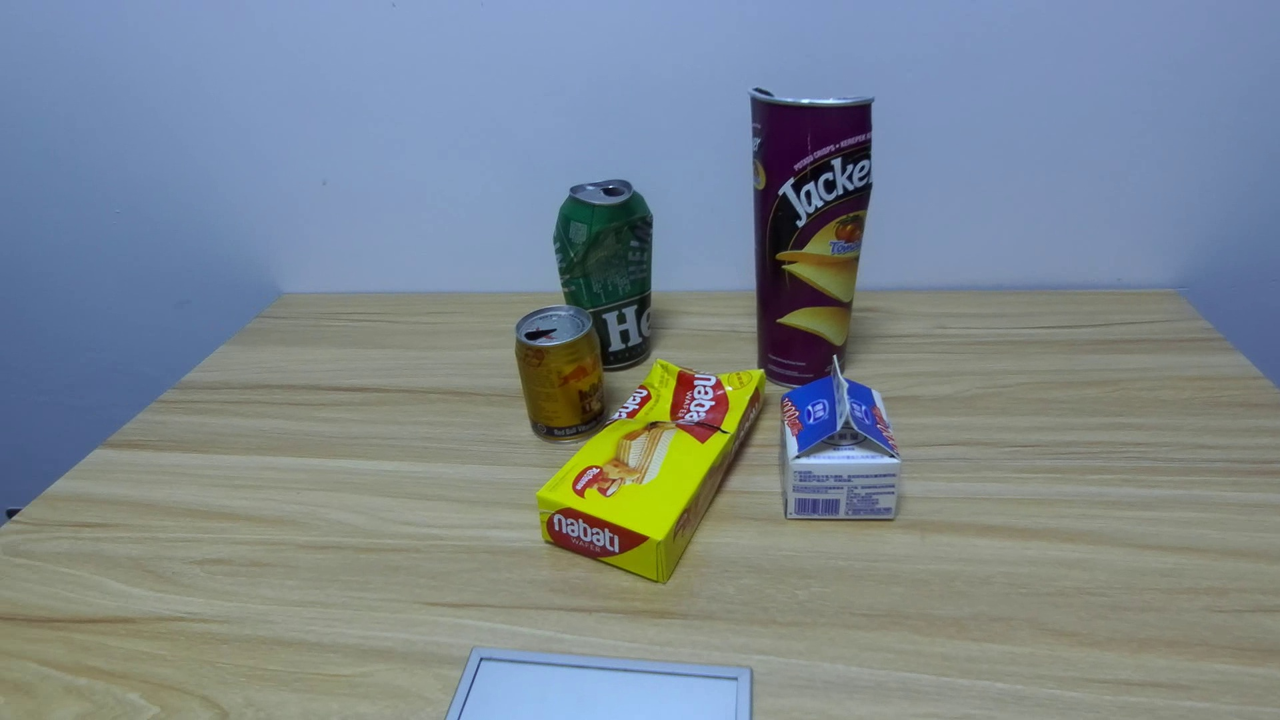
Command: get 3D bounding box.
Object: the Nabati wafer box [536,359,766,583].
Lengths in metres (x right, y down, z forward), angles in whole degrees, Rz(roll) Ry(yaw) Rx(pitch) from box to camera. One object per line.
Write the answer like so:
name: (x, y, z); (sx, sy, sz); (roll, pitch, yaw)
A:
Nabati wafer box: (0.016, 0.062, 0.523); (0.106, 0.042, 0.204); (12, 36, 23)

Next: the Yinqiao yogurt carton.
Yinqiao yogurt carton: (0.133, 0.050, 0.475); (0.073, 0.092, 0.075); (-1, 32, 8)

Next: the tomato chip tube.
tomato chip tube: (0.134, -0.093, 0.568); (0.076, 0.235, 0.077); (-9, 31, -5)

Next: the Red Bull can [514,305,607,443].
Red Bull can: (-0.063, 0.011, 0.567); (0.067, 0.093, 0.067); (-3, 33, 2)

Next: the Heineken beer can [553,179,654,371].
Heineken beer can: (-0.030, -0.072, 0.621); (0.077, 0.164, 0.066); (5, 34, 12)
